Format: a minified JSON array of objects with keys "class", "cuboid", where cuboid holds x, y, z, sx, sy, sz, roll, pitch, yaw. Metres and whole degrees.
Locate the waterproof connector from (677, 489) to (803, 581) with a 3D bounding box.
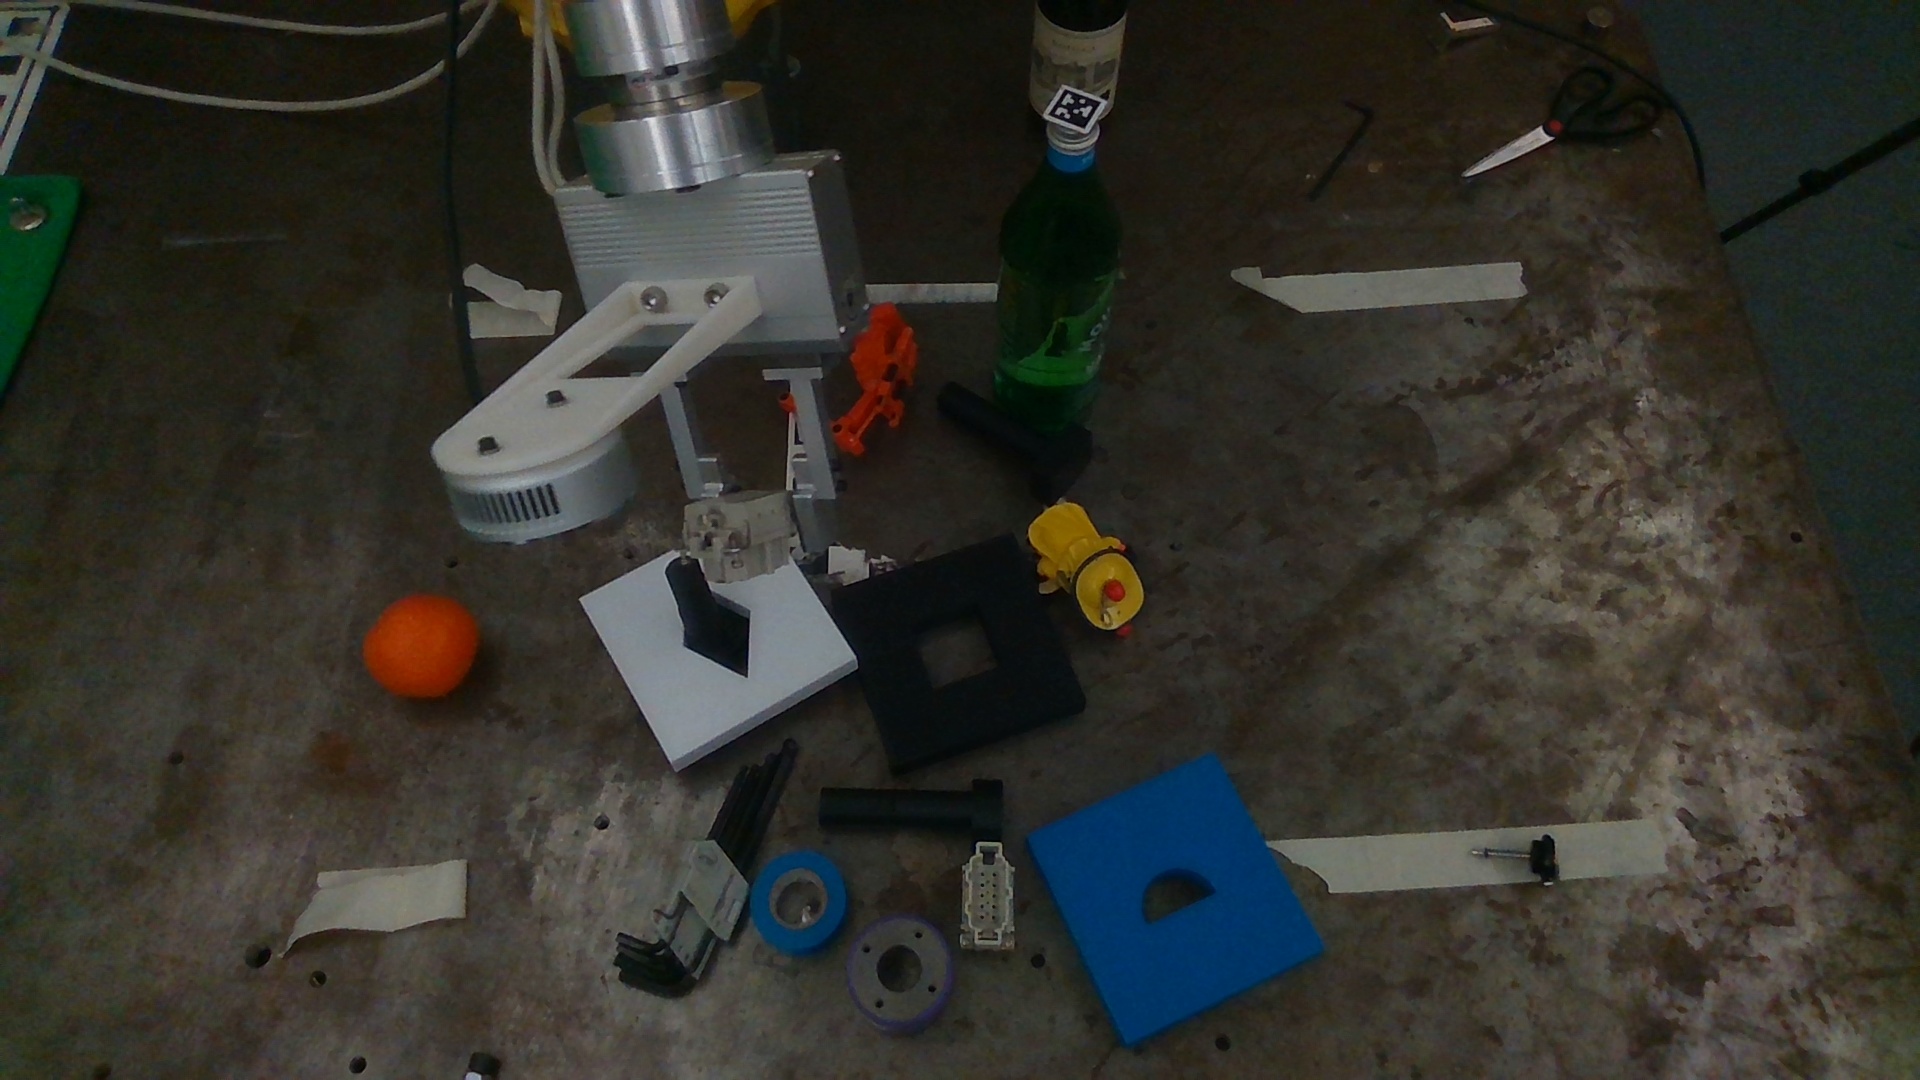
[{"class":"waterproof connector","cuboid":[-0.107,-0.003,0.684,0.037,0.069,0.038,-1,99,22]}]
